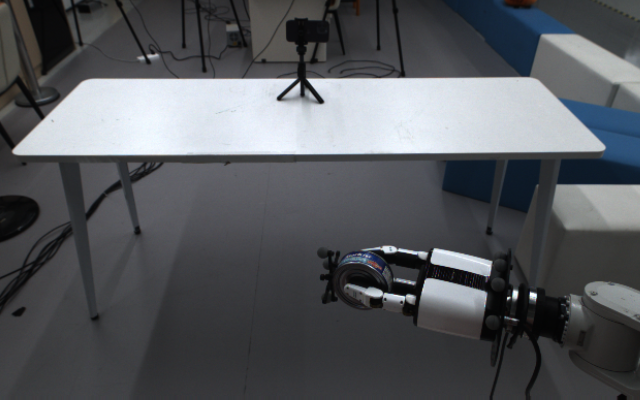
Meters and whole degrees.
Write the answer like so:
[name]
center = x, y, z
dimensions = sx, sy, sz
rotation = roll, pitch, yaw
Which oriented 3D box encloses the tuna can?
[tuna can]
center = 0.065, 0.120, 0.704
dimensions = 0.085, 0.085, 0.034
rotation = 12, 28, 14
